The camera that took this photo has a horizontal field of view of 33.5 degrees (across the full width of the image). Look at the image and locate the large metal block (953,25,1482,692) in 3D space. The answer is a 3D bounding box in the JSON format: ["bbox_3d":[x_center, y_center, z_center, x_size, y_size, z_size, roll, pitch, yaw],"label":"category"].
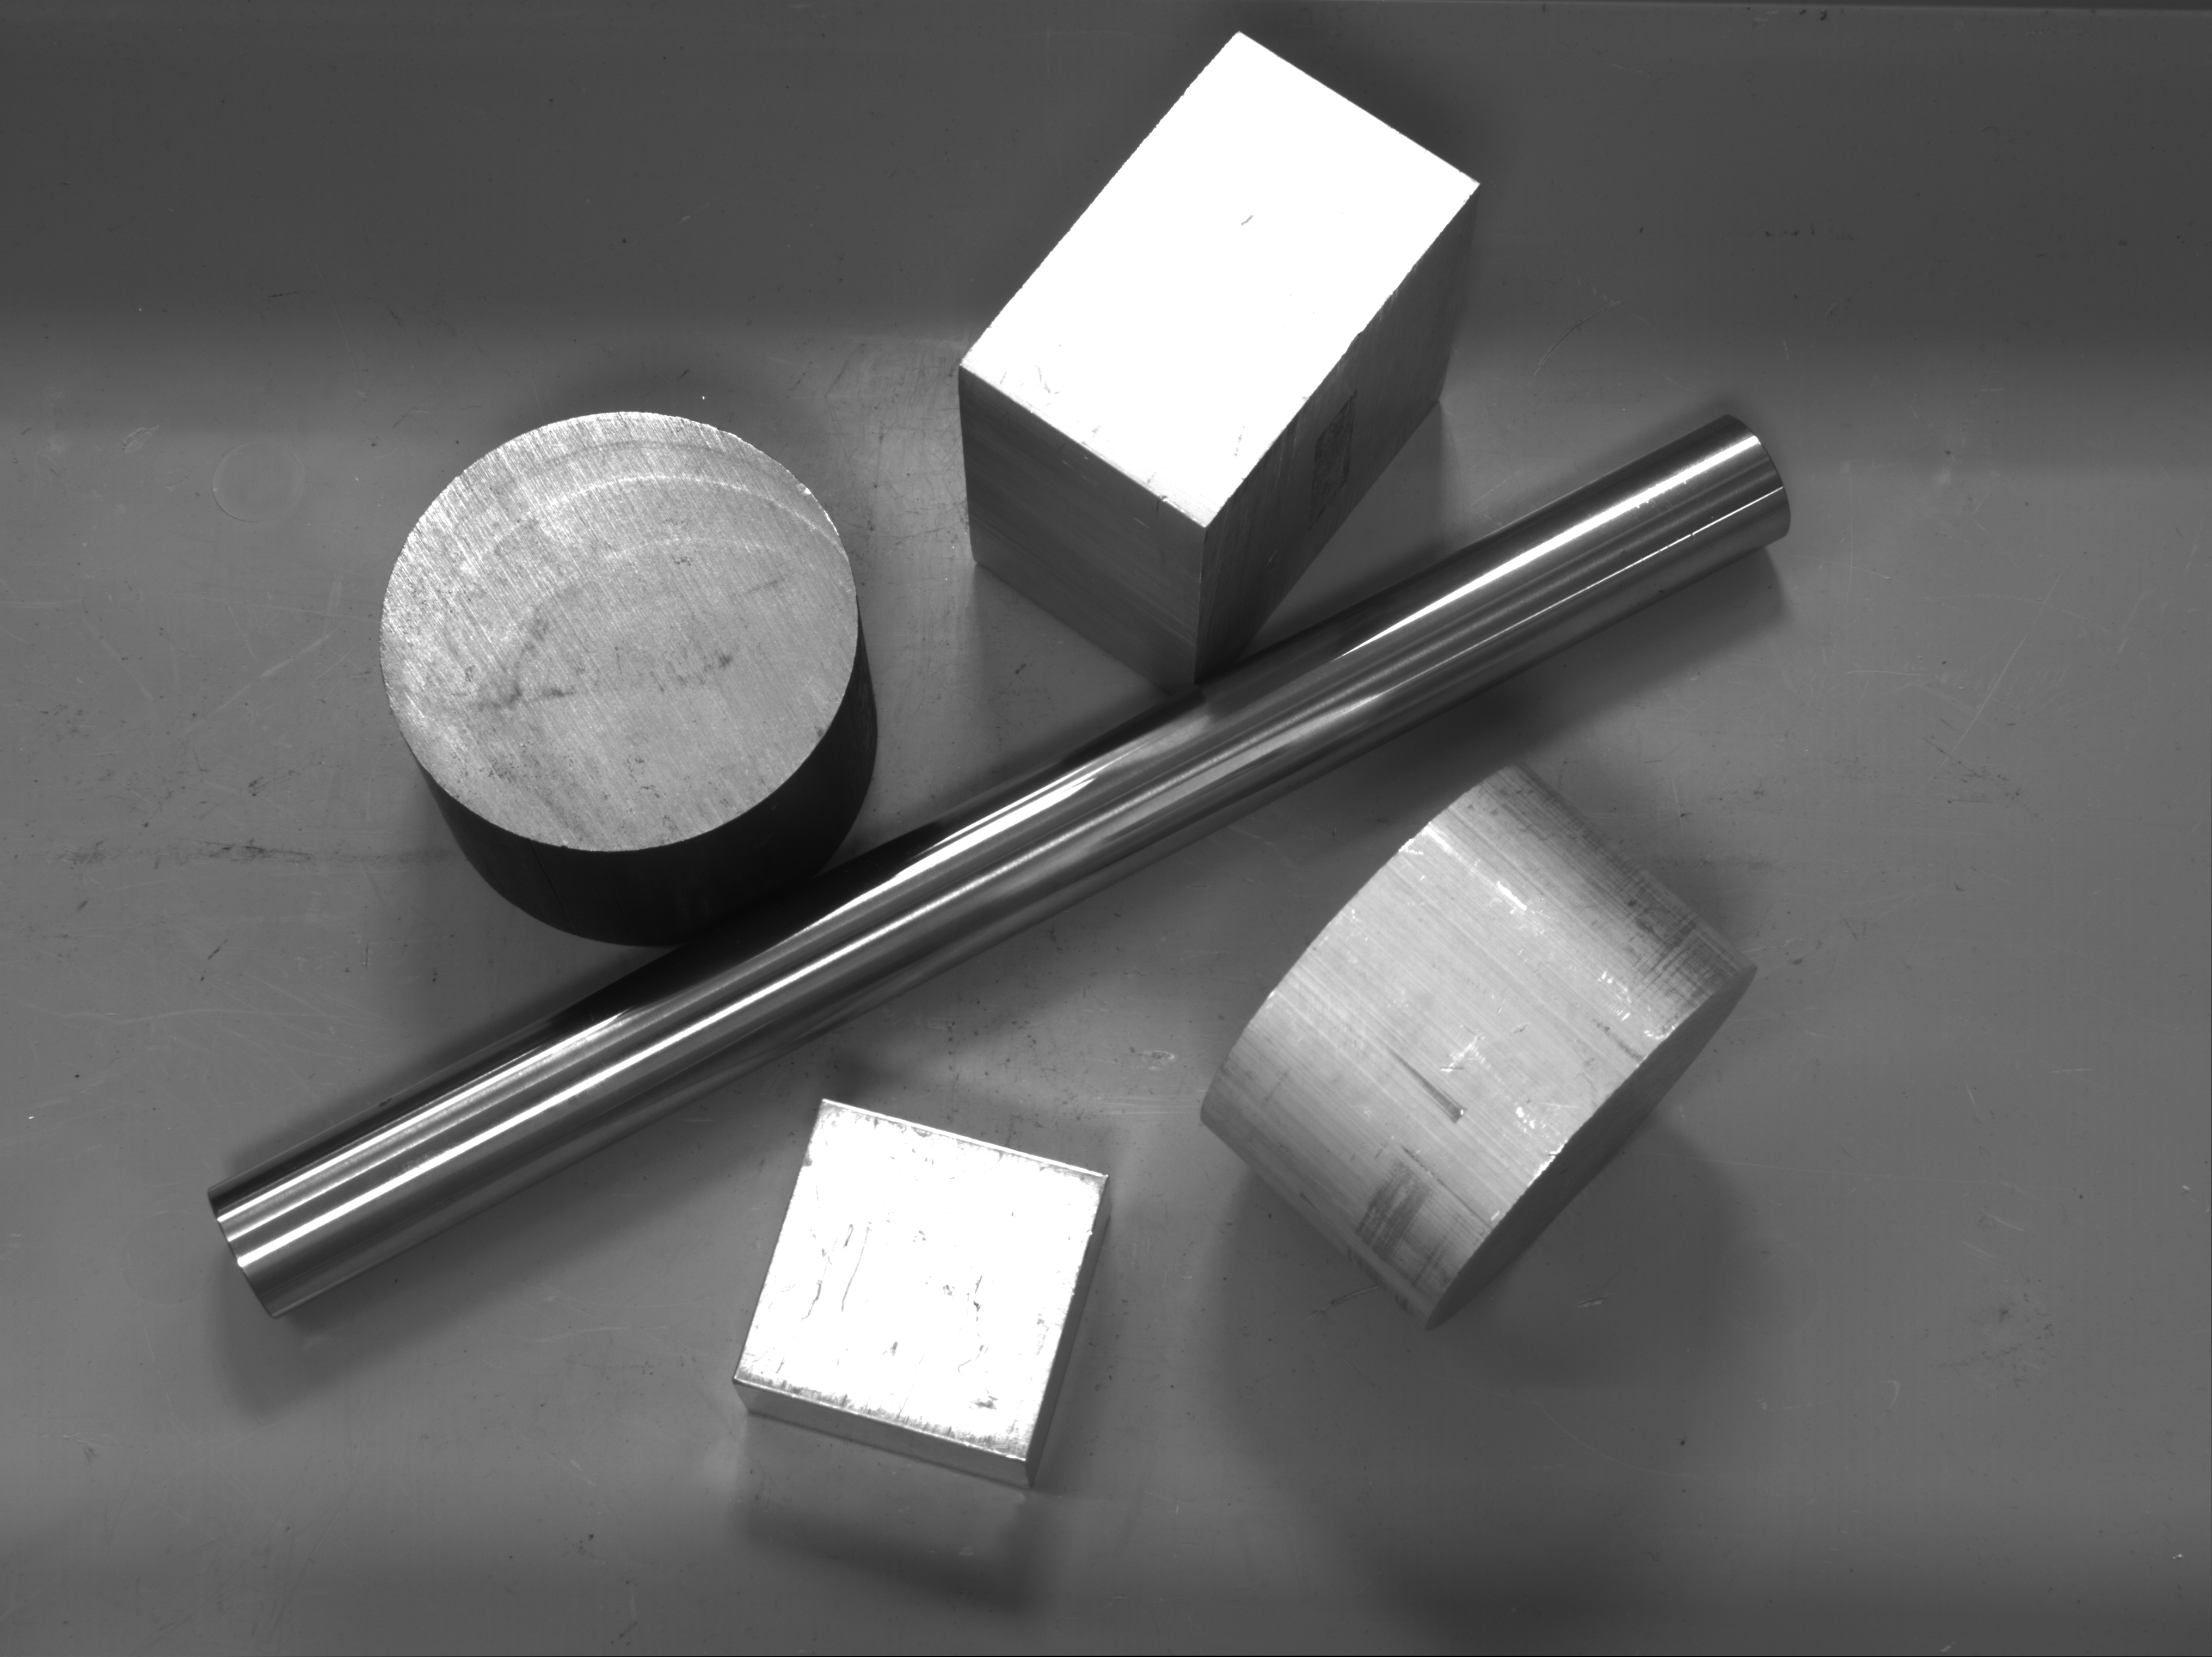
[{"bbox_3d":[0.019,-0.078,0.644,0.050,0.080,0.080,35,74,12],"label":"large metal block"}]

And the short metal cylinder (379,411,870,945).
[{"bbox_3d":[-0.082,-0.026,0.640,0.080,0.050,0.080,0,70,0],"label":"short metal cylinder"}]

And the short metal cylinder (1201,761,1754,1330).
[{"bbox_3d":[0.061,0.036,0.602,0.050,0.080,0.080,42,75,14],"label":"short metal cylinder"}]

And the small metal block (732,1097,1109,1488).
[{"bbox_3d":[-0.030,0.078,0.616,0.050,0.025,0.050,14,71,5],"label":"small metal block"}]

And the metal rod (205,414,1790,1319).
[{"bbox_3d":[-0.014,0.004,0.643,0.300,0.025,0.025,-27,72,-10],"label":"metal rod"}]
